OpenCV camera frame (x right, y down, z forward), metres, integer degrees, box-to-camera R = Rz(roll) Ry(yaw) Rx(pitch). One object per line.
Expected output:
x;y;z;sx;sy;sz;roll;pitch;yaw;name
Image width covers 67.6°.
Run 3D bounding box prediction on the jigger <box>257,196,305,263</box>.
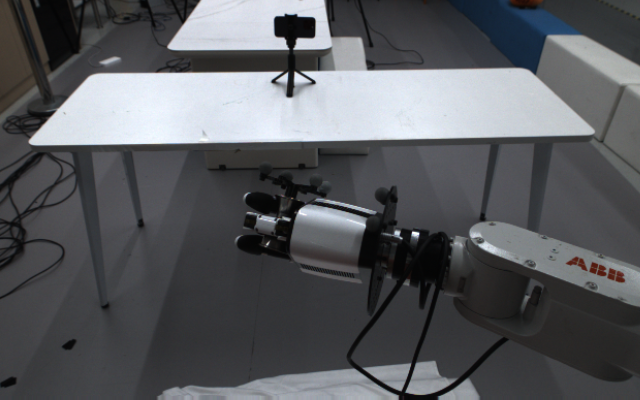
-0.045;0.030;0.614;0.043;0.071;0.043;16;-7;2;jigger
